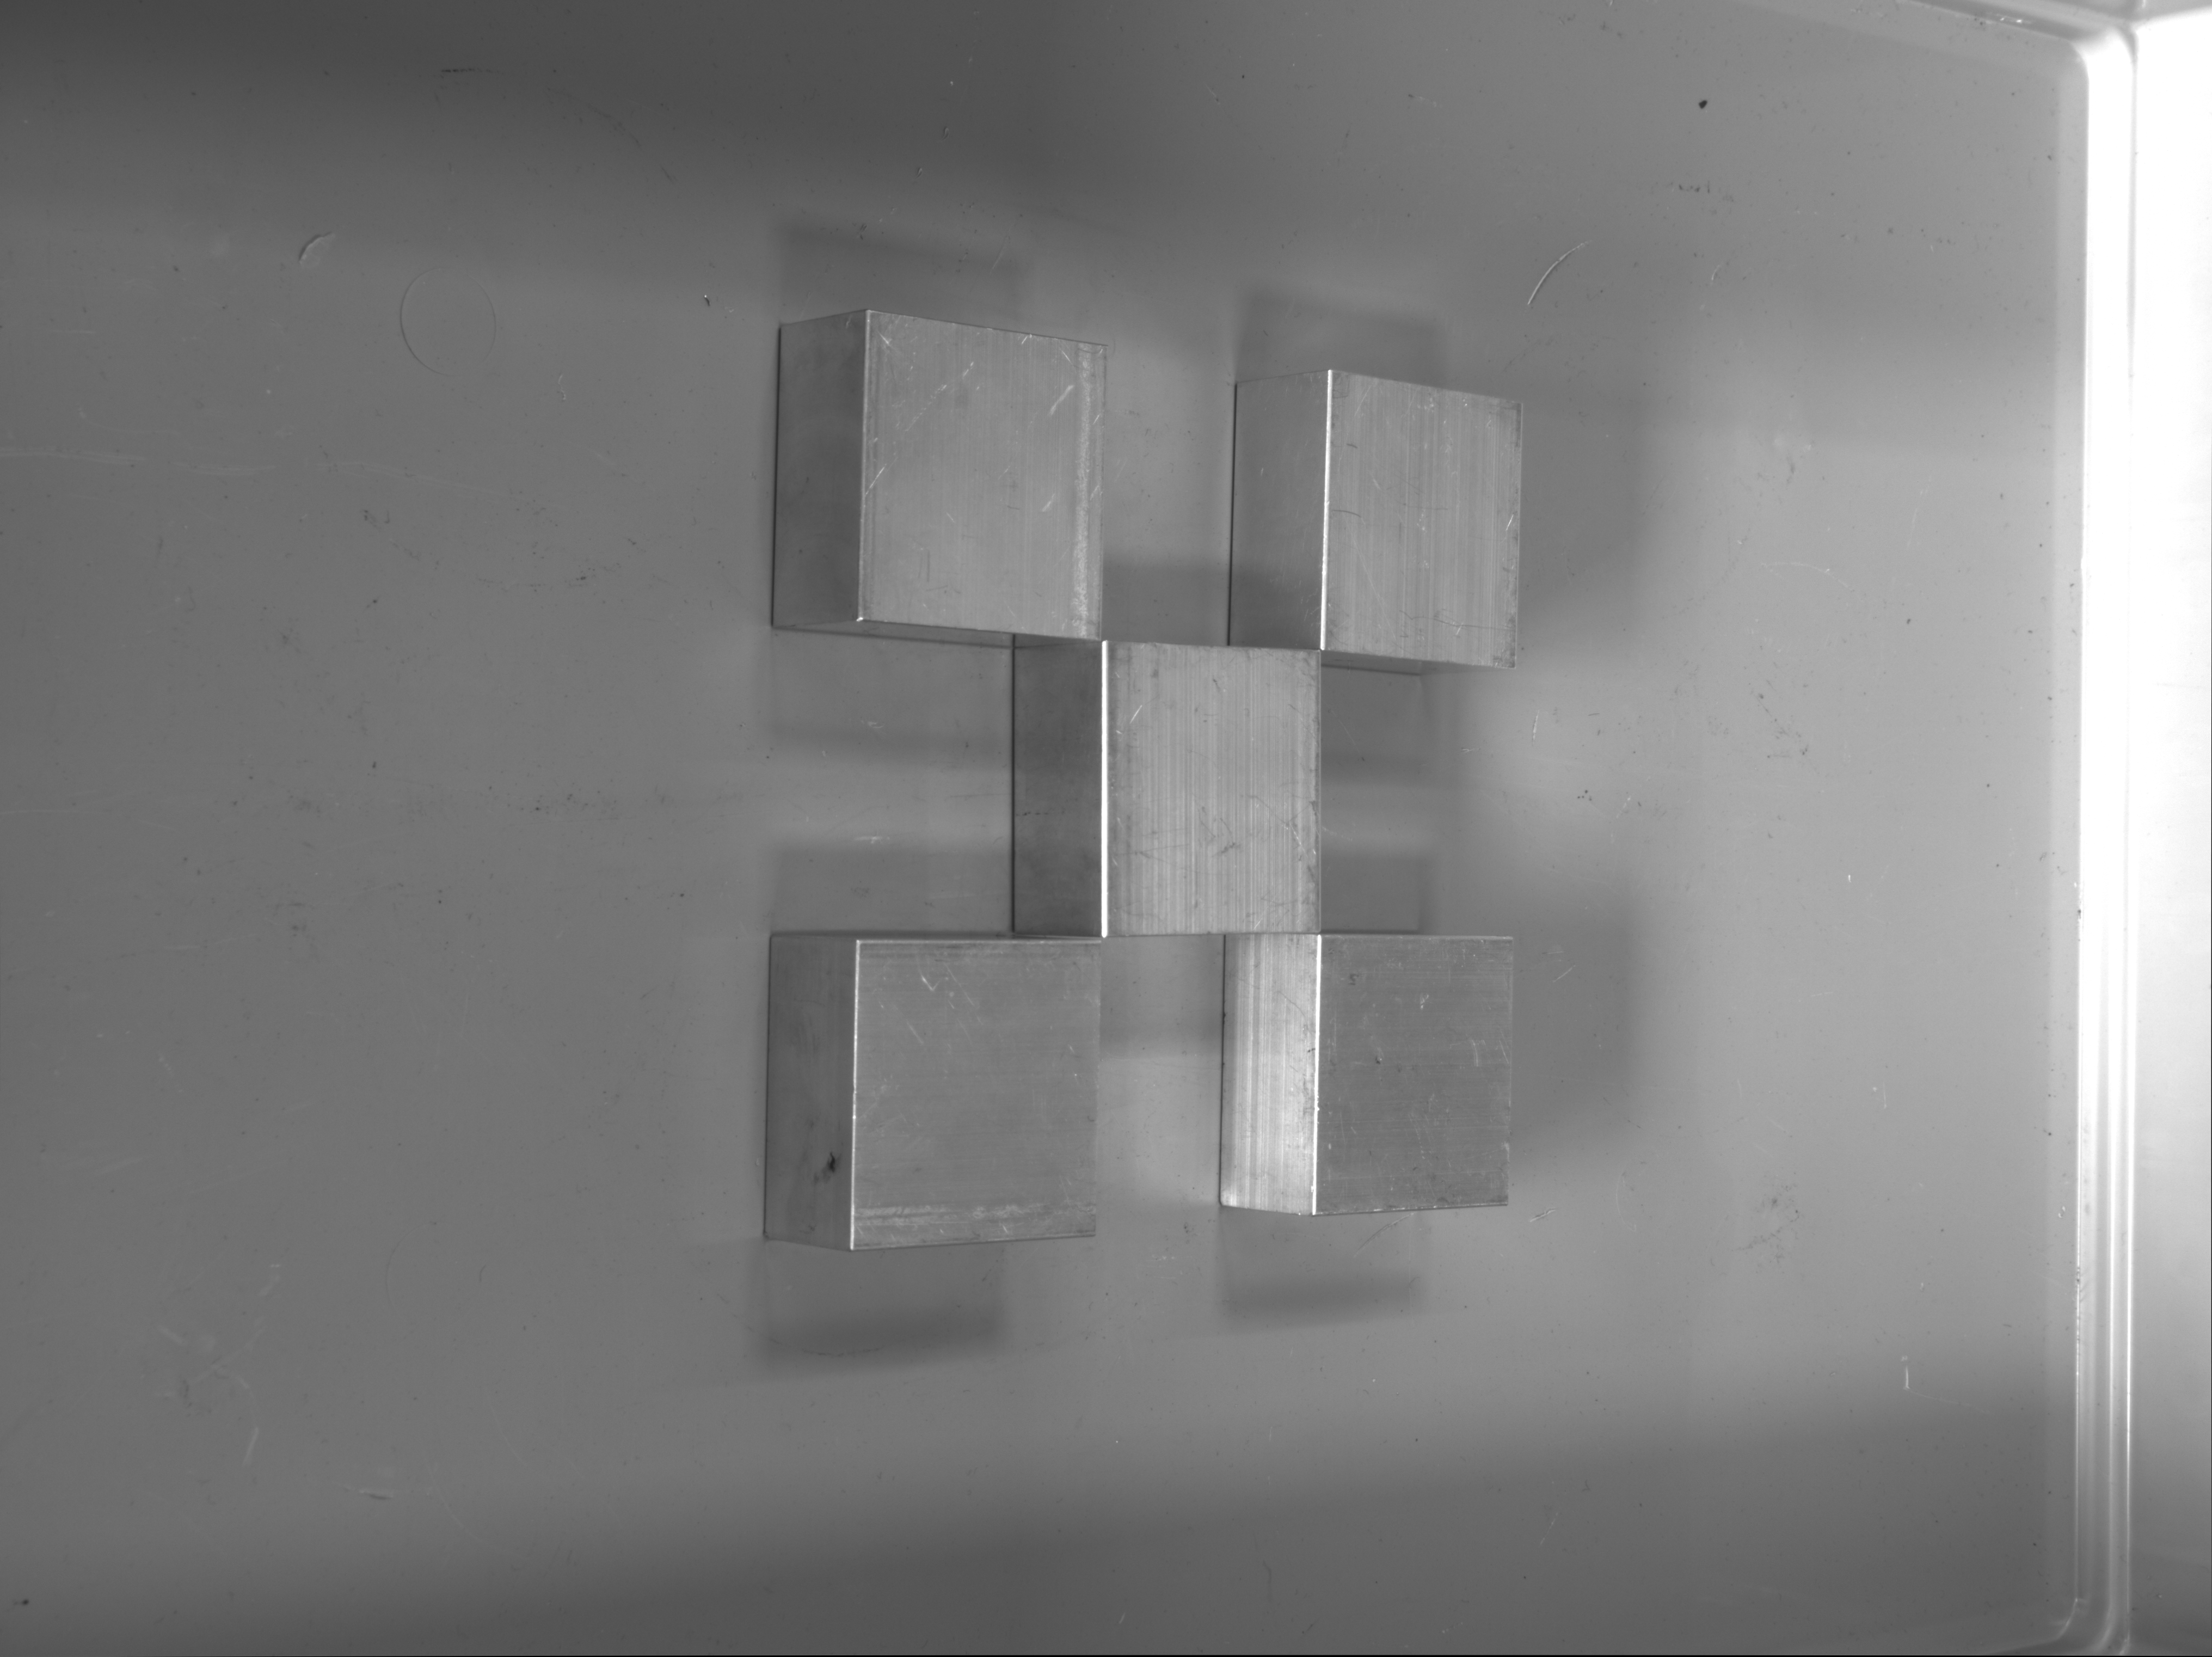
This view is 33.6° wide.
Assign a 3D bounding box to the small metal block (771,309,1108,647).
[{"bbox_3d":[-0.027,-0.057,0.611,0.050,0.025,0.050,2,88,-40],"label":"small metal block"}]

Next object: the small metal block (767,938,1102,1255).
[{"bbox_3d":[-0.028,0.043,0.610,0.050,0.025,0.050,1,89,-40],"label":"small metal block"}]

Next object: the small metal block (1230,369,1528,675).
[{"bbox_3d":[0.050,-0.055,0.675,0.050,0.025,0.050,3,88,-40],"label":"small metal block"}]

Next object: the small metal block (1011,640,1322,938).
[{"bbox_3d":[0.011,-0.006,0.642,0.050,0.025,0.050,1,89,-40],"label":"small metal block"}]

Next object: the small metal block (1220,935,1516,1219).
[{"bbox_3d":[0.048,0.045,0.673,0.050,0.025,0.050,2,89,-40],"label":"small metal block"}]
